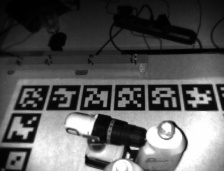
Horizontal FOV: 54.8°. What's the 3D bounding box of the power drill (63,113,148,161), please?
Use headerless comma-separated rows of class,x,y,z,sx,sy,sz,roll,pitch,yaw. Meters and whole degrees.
power drill,-0.011,0.129,0.510,0.183,0.188,0.057,10,58,11

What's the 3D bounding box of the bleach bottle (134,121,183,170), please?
bleach bottle,0.098,0.136,0.490,0.102,0.252,0.067,1,52,8

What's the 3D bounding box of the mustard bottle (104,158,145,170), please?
mustard bottle,0.028,0.199,0.485,0.096,0.193,0.058,-1,57,6
